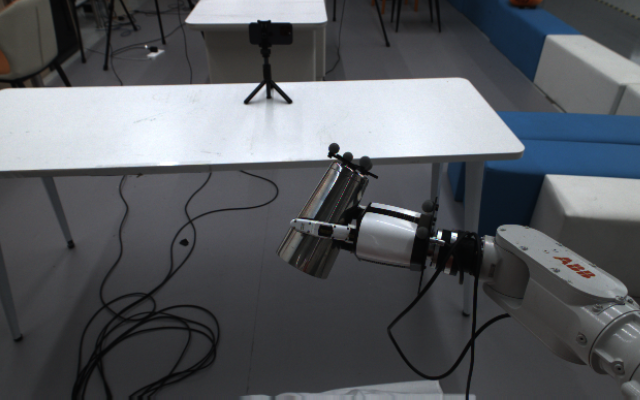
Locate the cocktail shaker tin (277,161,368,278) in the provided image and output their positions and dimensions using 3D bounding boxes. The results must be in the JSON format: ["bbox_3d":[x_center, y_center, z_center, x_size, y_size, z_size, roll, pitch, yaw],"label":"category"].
[{"bbox_3d":[0.010,0.024,0.768,0.093,0.170,0.093,27,2,-1],"label":"cocktail shaker tin"}]
